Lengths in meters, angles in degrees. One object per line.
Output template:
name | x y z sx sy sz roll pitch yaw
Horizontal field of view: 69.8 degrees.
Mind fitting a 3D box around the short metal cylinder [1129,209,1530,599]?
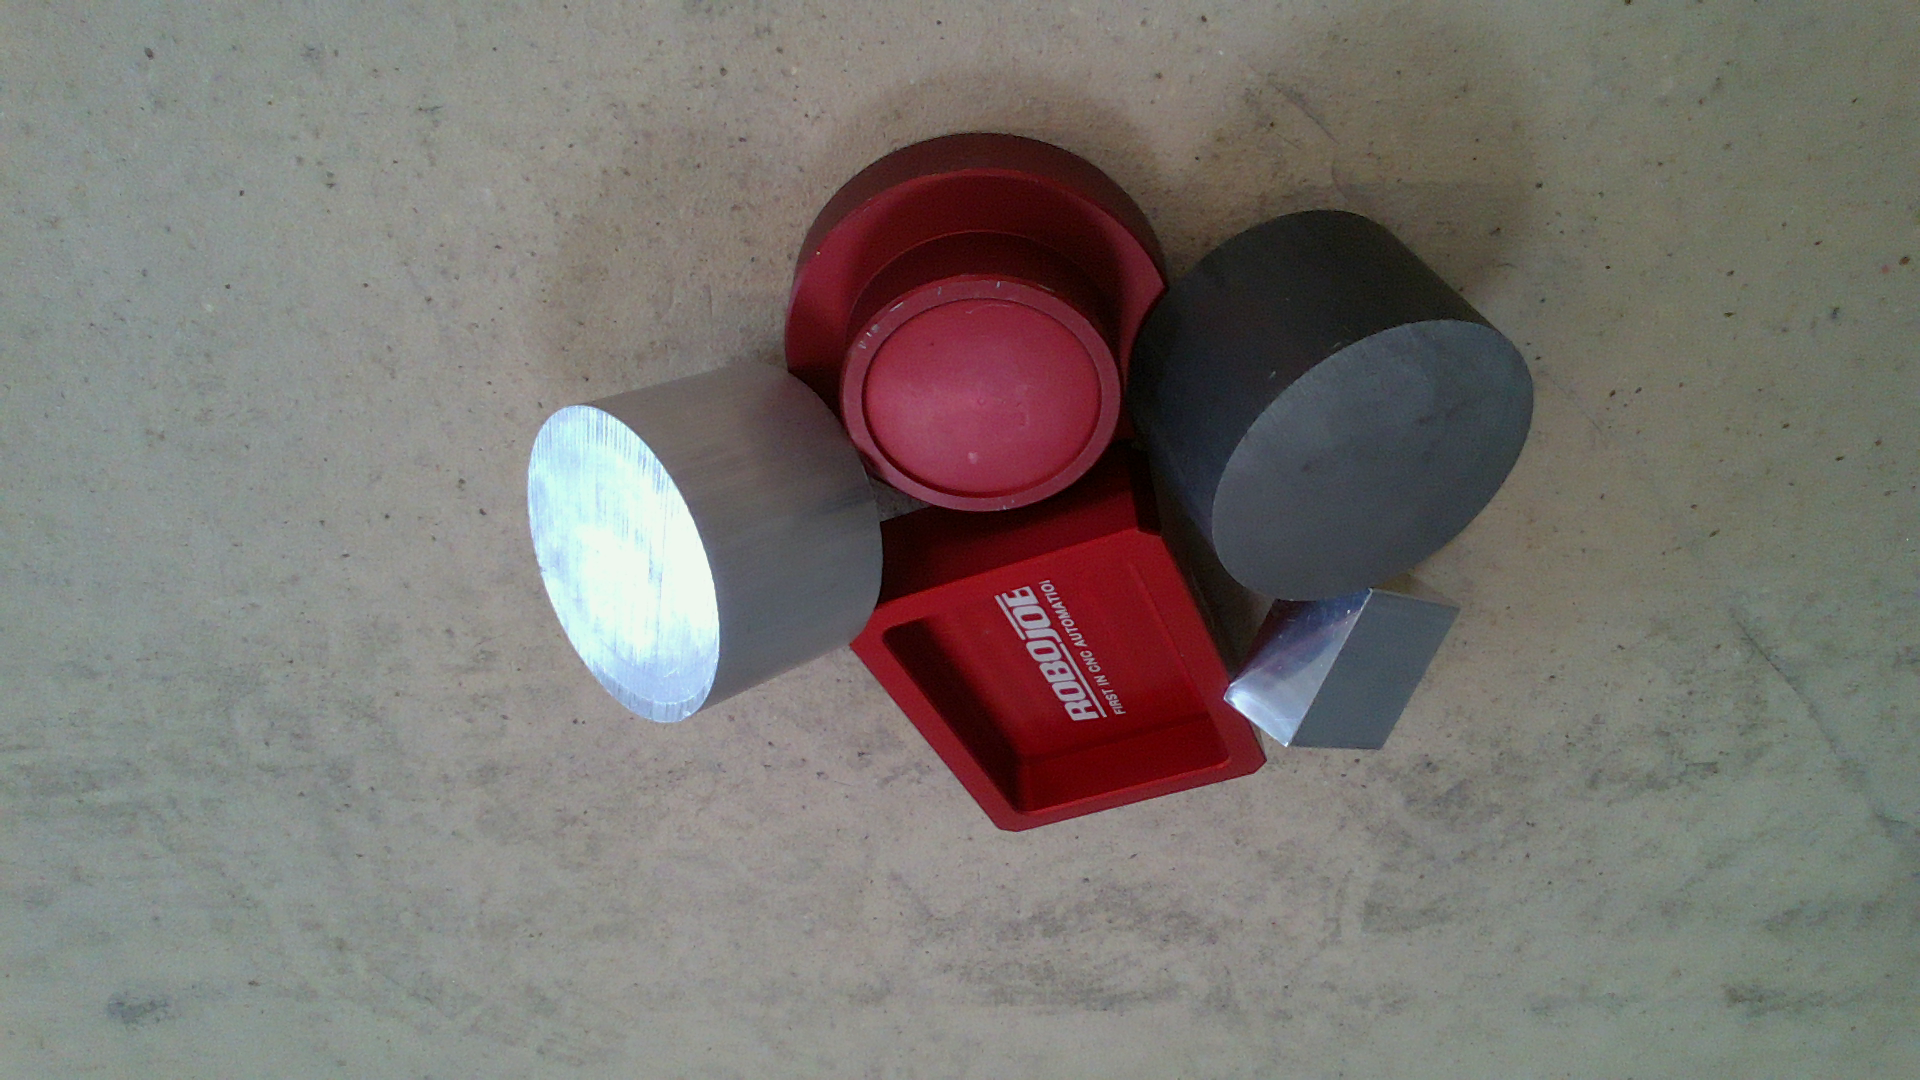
short metal cylinder | 0.088 -0.032 0.334 0.080 0.050 0.080 -12 133 -13

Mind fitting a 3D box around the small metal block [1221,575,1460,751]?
small metal block | 0.110 0.032 0.395 0.050 0.025 0.050 10 110 -44

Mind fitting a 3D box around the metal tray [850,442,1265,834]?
metal tray | 0.030 0.035 0.403 0.090 0.030 0.130 -17 138 14

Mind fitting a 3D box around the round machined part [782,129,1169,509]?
round machined part | 0.005 -0.047 0.341 0.098 0.042 0.098 0 130 0

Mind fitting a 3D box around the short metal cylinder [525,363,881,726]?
short metal cylinder | -0.065 0.000 0.346 0.050 0.080 0.080 -23 145 -41
